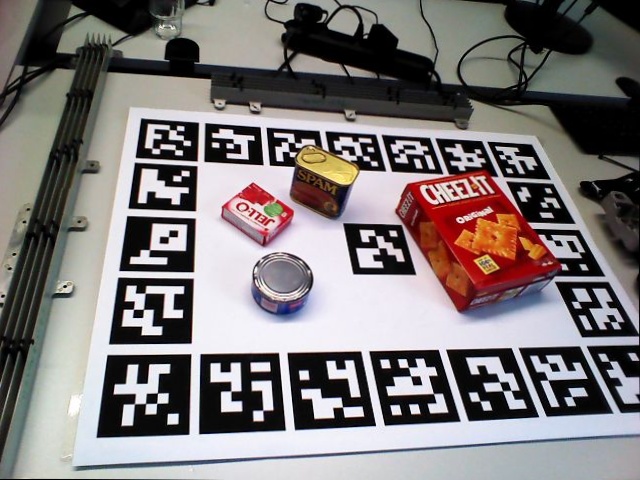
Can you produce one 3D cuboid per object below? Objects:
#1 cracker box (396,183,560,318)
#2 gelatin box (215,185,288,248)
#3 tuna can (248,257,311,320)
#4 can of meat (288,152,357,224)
[{"bbox_3d":[0.249,0.007,0.833,0.163,0.072,0.213,-11,52,-23],"label":"cracker box"},{"bbox_3d":[-0.107,-0.038,0.811,0.089,0.030,0.073,35,48,14],"label":"gelatin box"},{"bbox_3d":[-0.057,0.068,0.724,0.086,0.034,0.085,6,52,-8],"label":"tuna can"},{"bbox_3d":[0.001,-0.083,0.848,0.102,0.084,0.057,24,48,9],"label":"can of meat"}]
